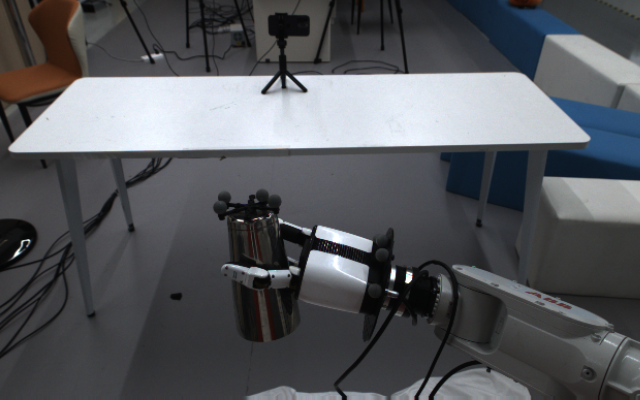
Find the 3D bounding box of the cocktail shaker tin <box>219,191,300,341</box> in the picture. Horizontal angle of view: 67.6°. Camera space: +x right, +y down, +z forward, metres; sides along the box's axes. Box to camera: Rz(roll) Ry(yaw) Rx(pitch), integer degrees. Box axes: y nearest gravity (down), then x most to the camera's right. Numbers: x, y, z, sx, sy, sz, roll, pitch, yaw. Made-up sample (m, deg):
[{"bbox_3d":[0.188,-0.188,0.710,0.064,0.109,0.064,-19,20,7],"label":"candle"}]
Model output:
[{"bbox_3d":[-0.082,0.096,0.664,0.093,0.170,0.093,-6,19,2],"label":"cocktail shaker tin"}]
